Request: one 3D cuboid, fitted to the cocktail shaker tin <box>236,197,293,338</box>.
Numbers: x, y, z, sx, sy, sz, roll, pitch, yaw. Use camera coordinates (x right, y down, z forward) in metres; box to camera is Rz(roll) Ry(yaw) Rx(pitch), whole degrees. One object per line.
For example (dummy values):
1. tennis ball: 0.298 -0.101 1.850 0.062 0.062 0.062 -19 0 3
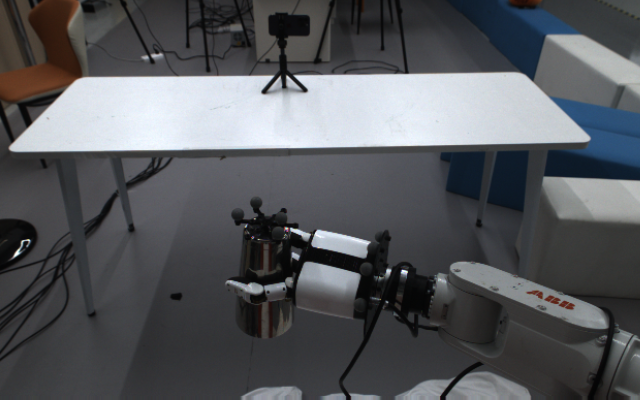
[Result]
1. cocktail shaker tin: -0.080 0.111 0.714 0.093 0.170 0.093 3 31 -2
